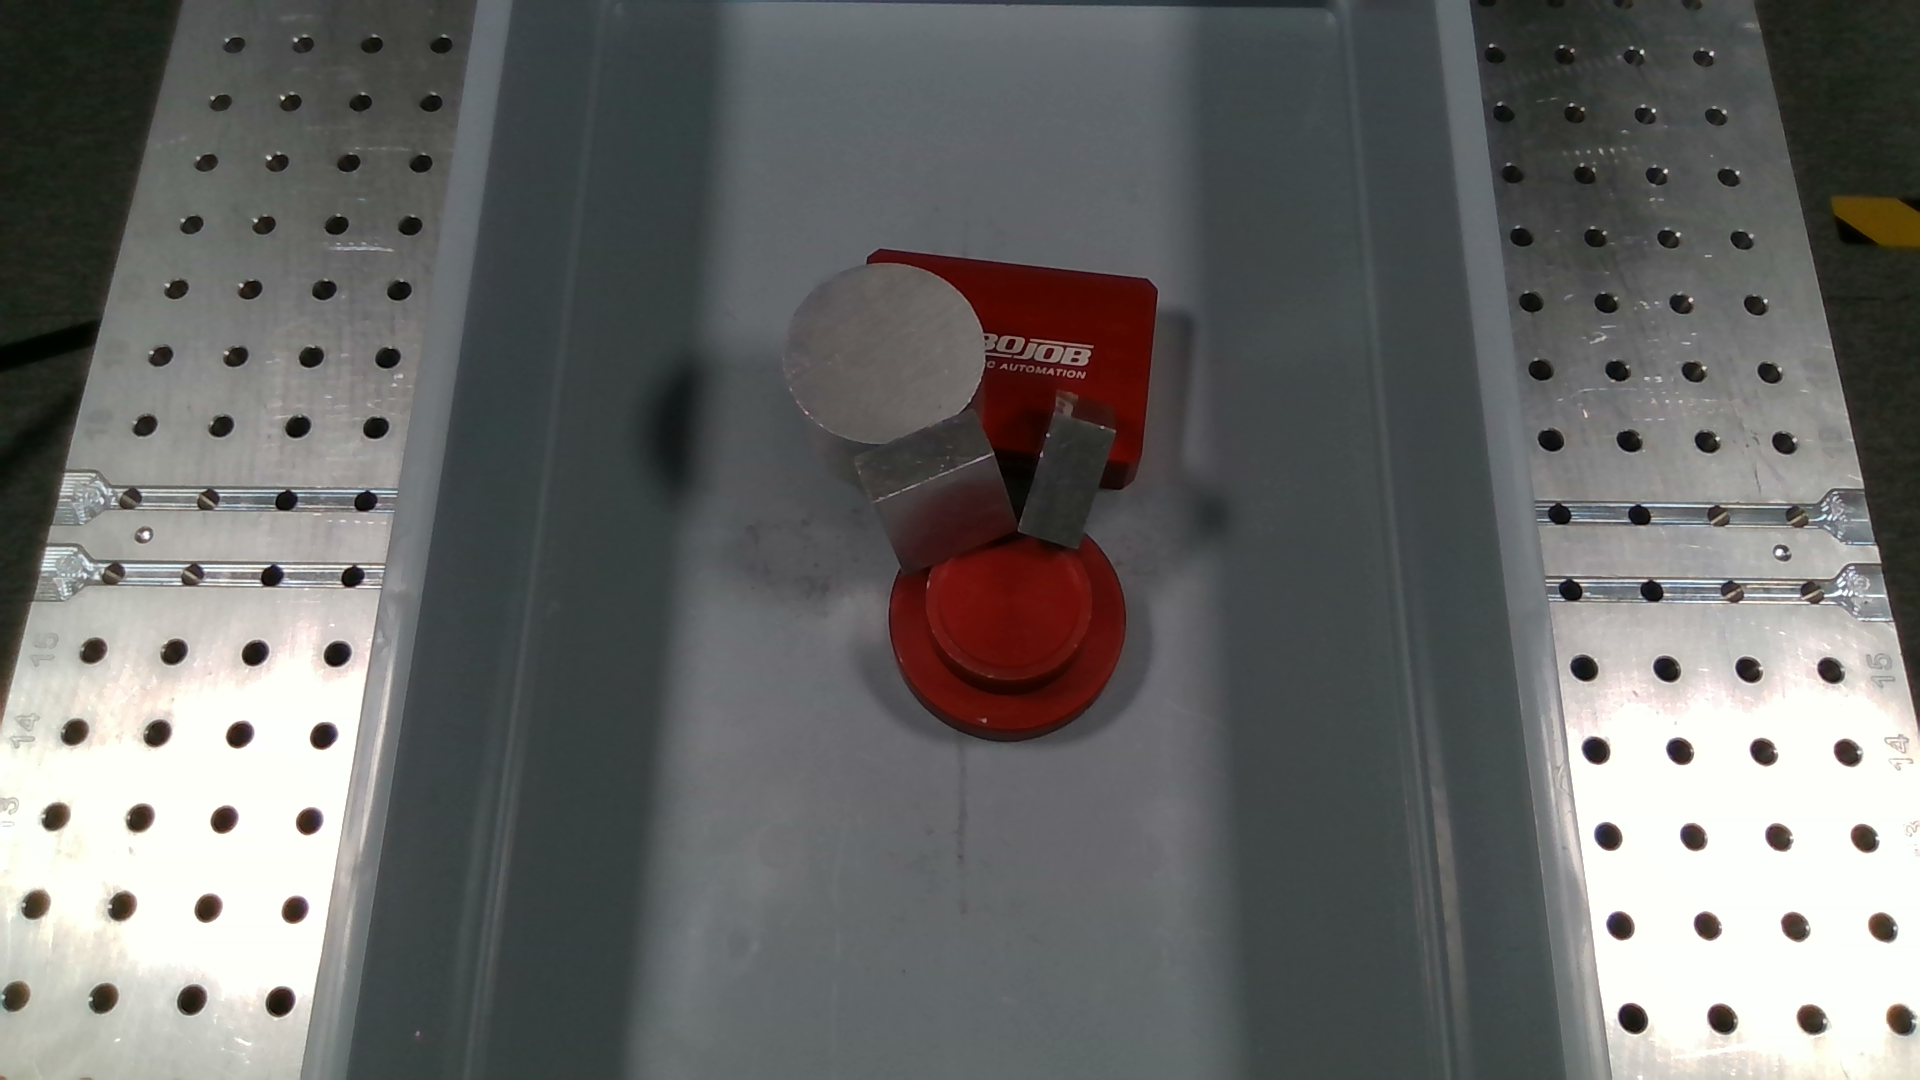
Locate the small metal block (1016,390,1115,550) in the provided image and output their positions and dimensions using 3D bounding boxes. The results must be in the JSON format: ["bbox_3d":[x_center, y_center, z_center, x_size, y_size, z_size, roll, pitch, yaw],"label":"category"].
[{"bbox_3d":[0.043,-0.030,0.557,0.025,0.050,0.050,16,107,0],"label":"small metal block"}]

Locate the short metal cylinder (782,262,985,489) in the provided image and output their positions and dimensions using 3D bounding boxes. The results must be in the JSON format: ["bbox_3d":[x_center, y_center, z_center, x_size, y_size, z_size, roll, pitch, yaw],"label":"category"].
[{"bbox_3d":[-0.030,-0.066,0.565,0.080,0.050,0.080,0,70,0],"label":"short metal cylinder"}]

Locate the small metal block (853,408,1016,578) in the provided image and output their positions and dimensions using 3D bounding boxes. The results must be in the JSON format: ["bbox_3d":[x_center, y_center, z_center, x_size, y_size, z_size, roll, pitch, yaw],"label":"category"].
[{"bbox_3d":[-0.009,-0.018,0.538,0.050,0.050,0.025,-22,53,-1],"label":"small metal block"}]

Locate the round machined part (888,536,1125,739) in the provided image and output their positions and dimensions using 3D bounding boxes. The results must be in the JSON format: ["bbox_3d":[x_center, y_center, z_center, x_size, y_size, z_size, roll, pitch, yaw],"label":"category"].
[{"bbox_3d":[0.019,0.030,0.567,0.098,0.042,0.098,0,70,0],"label":"round machined part"}]

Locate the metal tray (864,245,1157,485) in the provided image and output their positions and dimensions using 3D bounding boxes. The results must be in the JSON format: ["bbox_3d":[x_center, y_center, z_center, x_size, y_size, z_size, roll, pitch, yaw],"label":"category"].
[{"bbox_3d":[0.017,-0.078,0.610,0.130,0.030,0.090,7,70,3],"label":"metal tray"}]
